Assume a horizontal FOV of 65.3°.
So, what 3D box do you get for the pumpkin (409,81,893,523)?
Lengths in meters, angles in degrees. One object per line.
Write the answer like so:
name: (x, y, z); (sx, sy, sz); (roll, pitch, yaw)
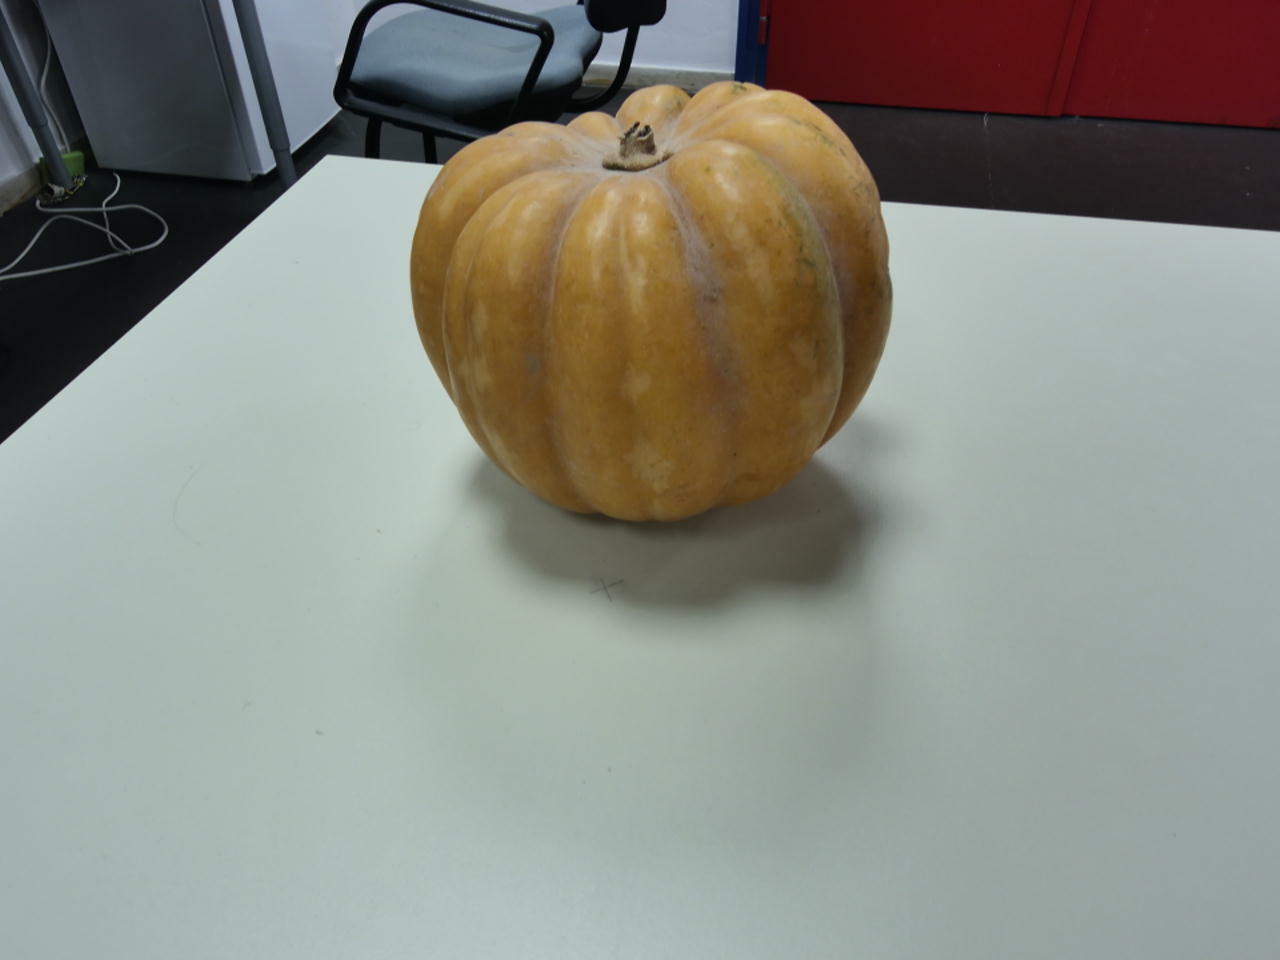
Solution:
pumpkin: (0.009, -0.085, 0.487); (0.230, 0.194, 0.230); (0, 39, 0)
